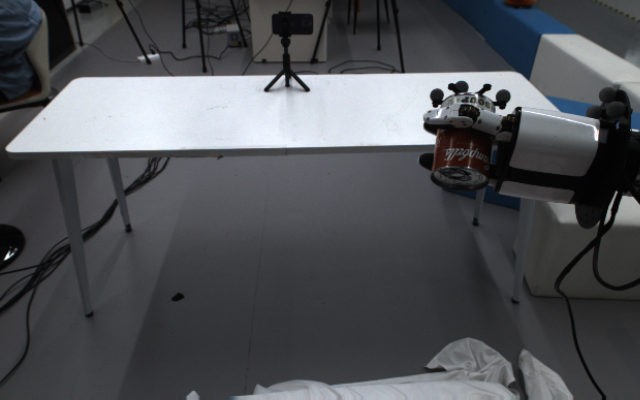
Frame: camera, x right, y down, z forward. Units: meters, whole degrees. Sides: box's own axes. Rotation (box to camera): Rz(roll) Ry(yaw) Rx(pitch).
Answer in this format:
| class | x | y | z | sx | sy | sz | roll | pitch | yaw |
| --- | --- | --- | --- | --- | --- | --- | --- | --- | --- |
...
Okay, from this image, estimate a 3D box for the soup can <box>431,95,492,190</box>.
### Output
| class | x | y | z | sx | sy | sz | roll | pitch | yaw |
| --- | --- | --- | --- | --- | --- | --- | --- | --- | --- |
| soup can | 0.176 | -0.070 | 0.586 | 0.067 | 0.067 | 0.101 | 9 | 70 | 10 |
